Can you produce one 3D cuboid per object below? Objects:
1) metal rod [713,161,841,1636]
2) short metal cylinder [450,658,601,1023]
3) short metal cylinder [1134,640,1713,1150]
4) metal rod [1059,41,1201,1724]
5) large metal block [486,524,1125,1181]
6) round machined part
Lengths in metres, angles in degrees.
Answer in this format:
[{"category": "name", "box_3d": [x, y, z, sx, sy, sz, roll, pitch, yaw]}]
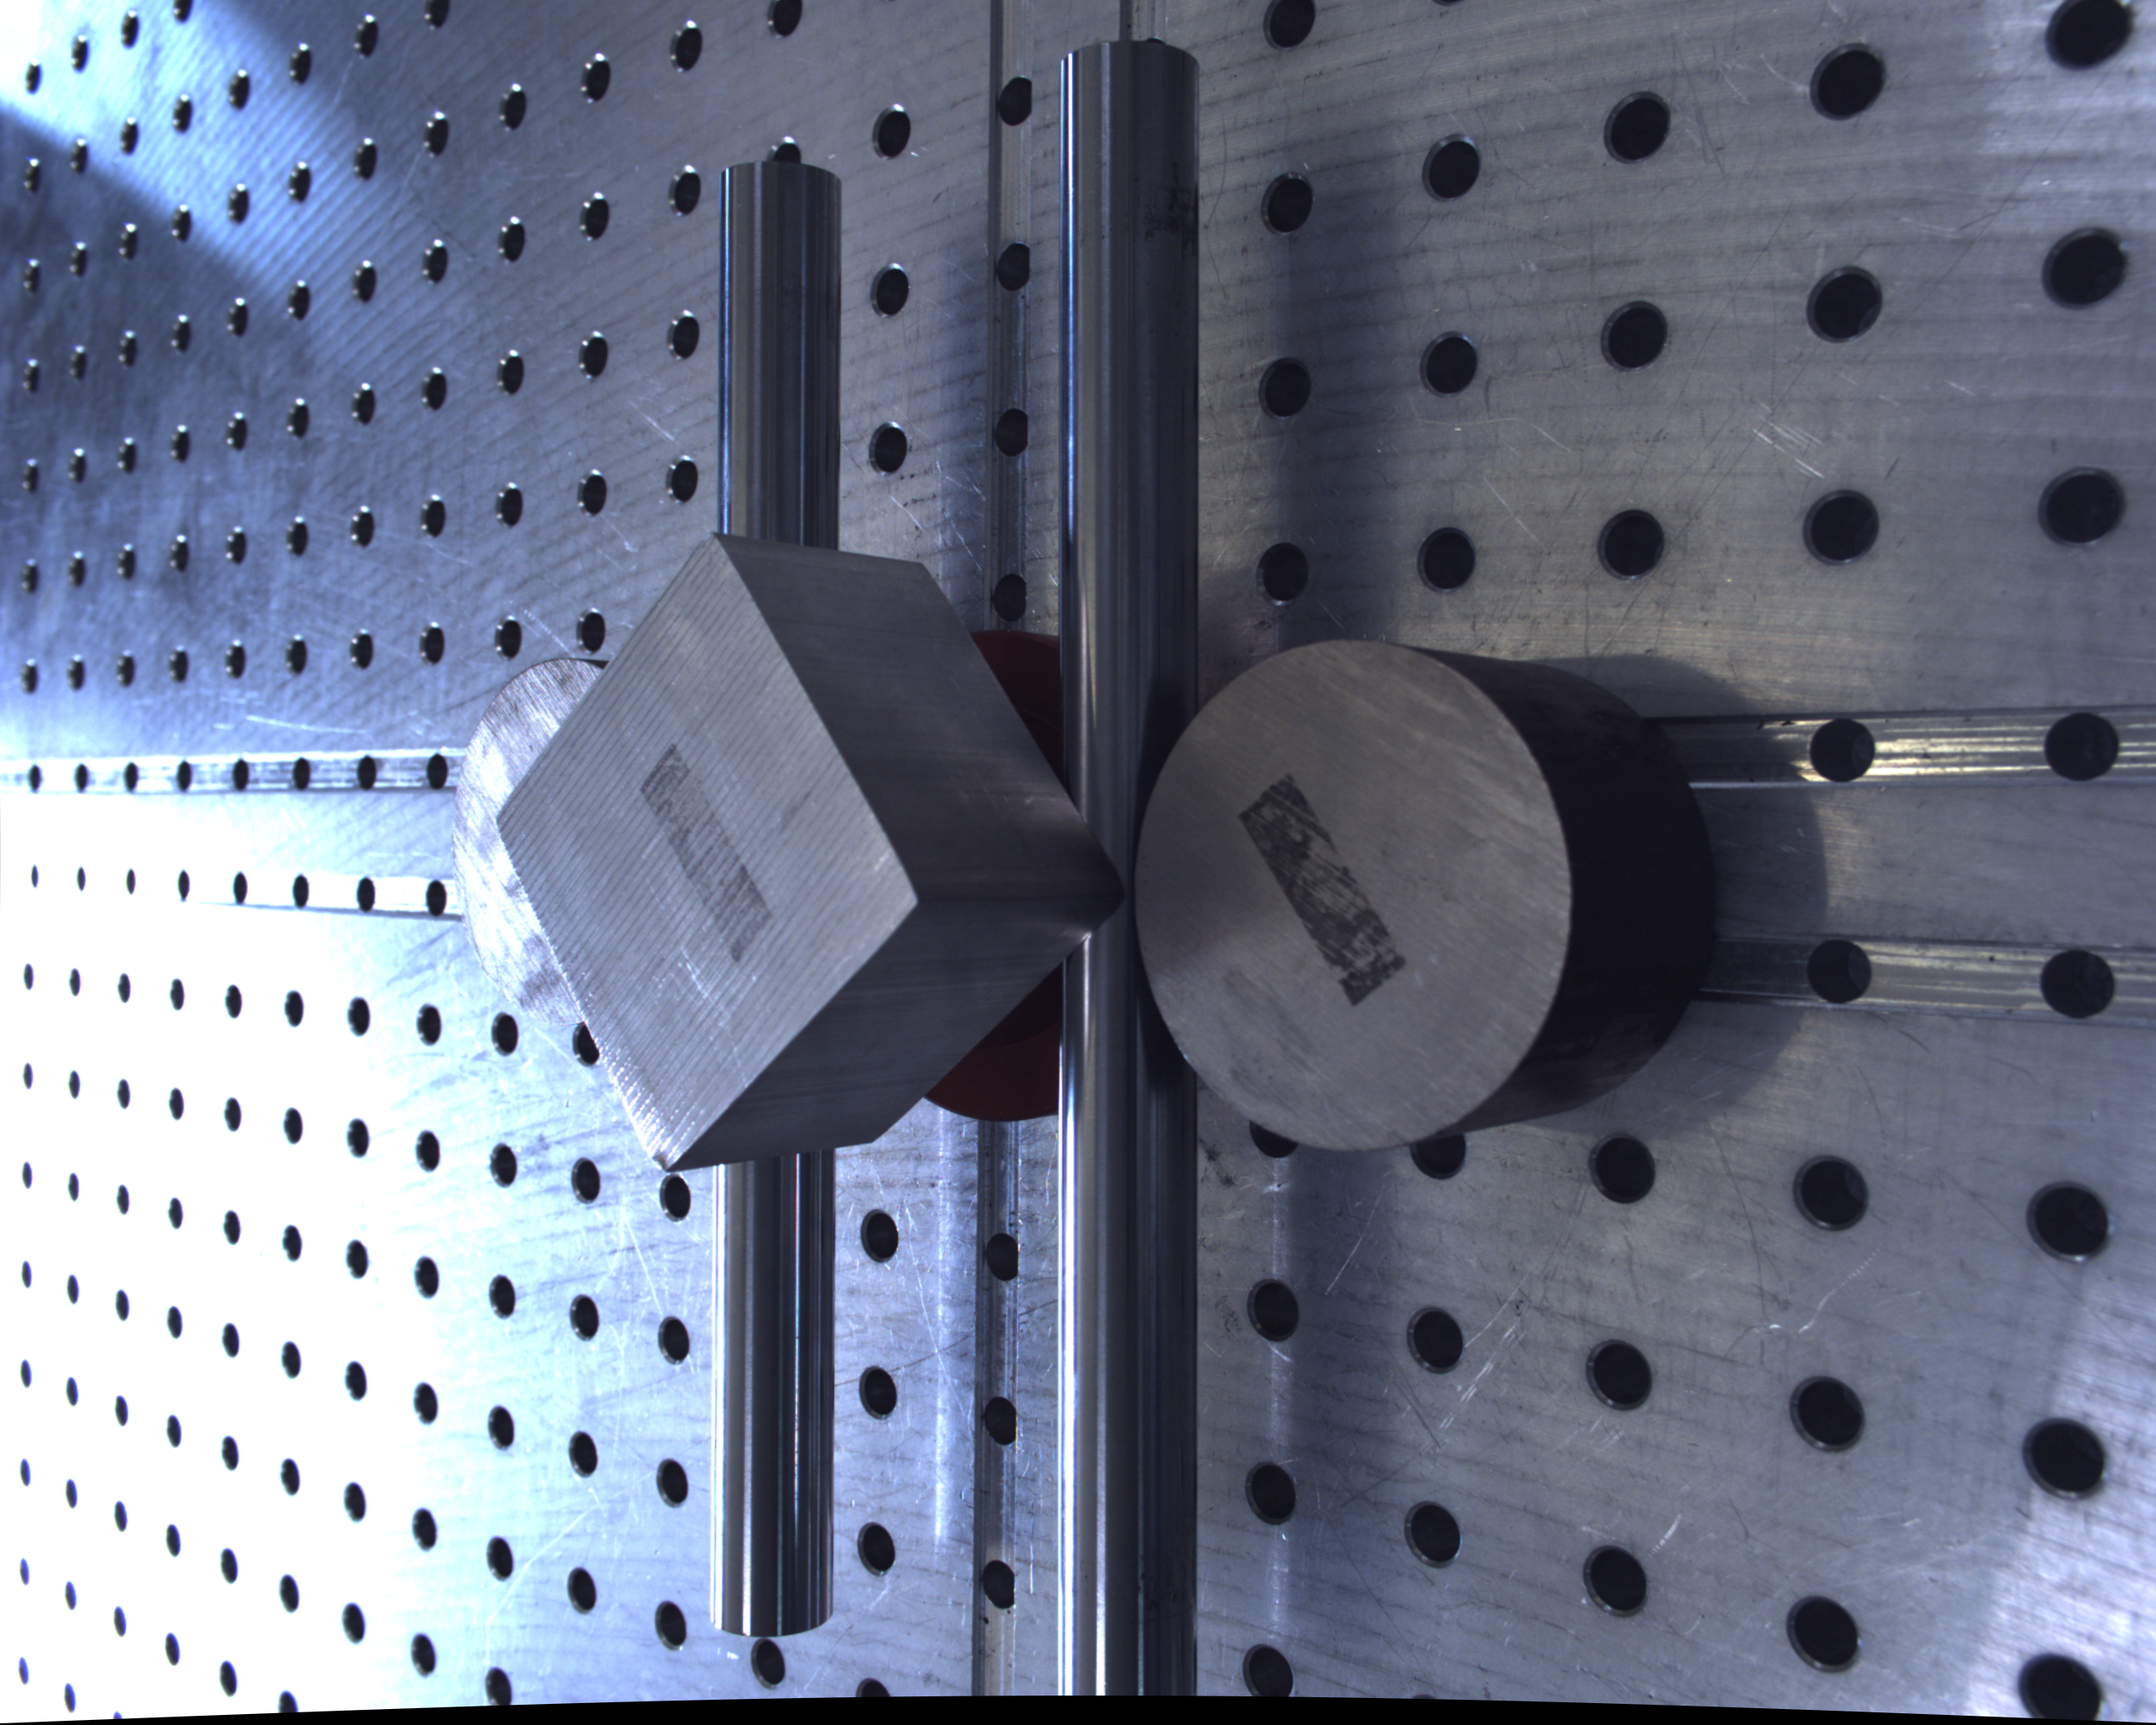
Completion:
[{"category": "metal rod", "box_3d": [-0.063, 0.007, 0.434, 0.025, 0.025, 0.298, 1, 90, 40]}, {"category": "short metal cylinder", "box_3d": [-0.097, -0.005, 0.474, 0.080, 0.050, 0.080, 0, 90, 40]}, {"category": "short metal cylinder", "box_3d": [0.056, 0.005, 0.346, 0.080, 0.050, 0.080, 0, 90, 40]}, {"category": "metal rod", "box_3d": [0.009, 0.006, 0.375, 0.025, 0.025, 0.298, 0, 90, 40]}, {"category": "large metal block", "box_3d": [-0.051, -0.001, 0.374, 0.080, 0.050, 0.080, -46, 63, 30]}, {"category": "round machined part", "box_3d": [-0.018, 0.002, 0.414, 0.098, 0.042, 0.097, 0, 90, 40]}]
